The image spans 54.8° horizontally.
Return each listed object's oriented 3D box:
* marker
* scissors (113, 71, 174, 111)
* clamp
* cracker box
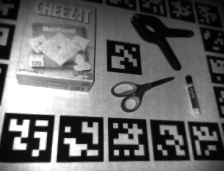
[{"bbox_3d":[0.232,0.011,0.622,0.020,0.019,0.120,2,68,-16],"label":"marker"},{"bbox_3d":[0.094,-0.004,0.586,0.204,0.016,0.087,-24,76,-27],"label":"scissors"},{"bbox_3d":[0.139,-0.172,0.674,0.203,0.036,0.166,33,61,-3],"label":"clamp"},{"bbox_3d":[-0.125,-0.108,0.530,0.165,0.072,0.213,6,67,-15],"label":"cracker box"}]
